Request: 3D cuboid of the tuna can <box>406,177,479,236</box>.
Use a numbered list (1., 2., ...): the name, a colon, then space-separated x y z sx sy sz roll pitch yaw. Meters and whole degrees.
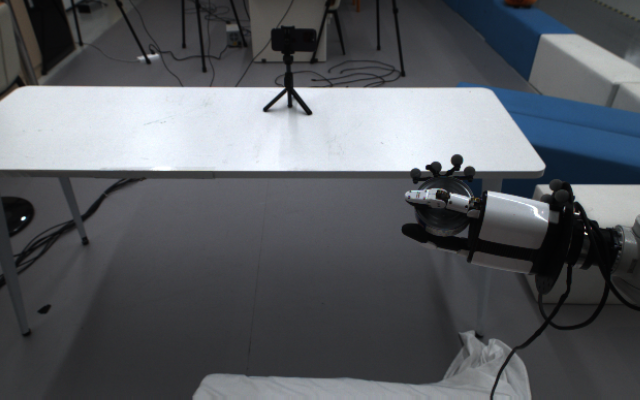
1. tuna can: 0.181 0.008 0.712 0.085 0.034 0.085 -6 59 11
